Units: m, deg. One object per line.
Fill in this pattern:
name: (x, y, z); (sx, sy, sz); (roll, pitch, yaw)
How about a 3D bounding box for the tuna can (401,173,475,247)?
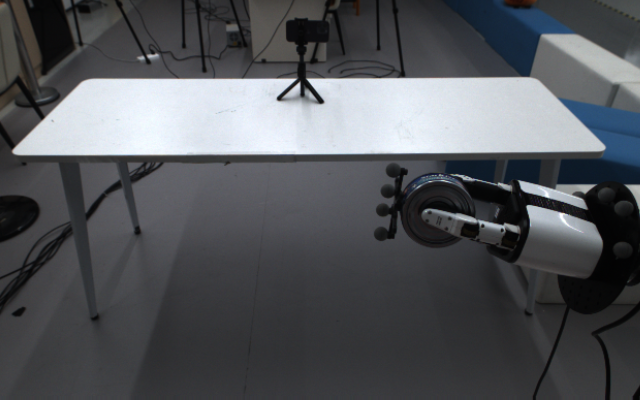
tuna can: (0.140, 0.010, 0.570); (0.085, 0.085, 0.034); (5, 17, 4)
